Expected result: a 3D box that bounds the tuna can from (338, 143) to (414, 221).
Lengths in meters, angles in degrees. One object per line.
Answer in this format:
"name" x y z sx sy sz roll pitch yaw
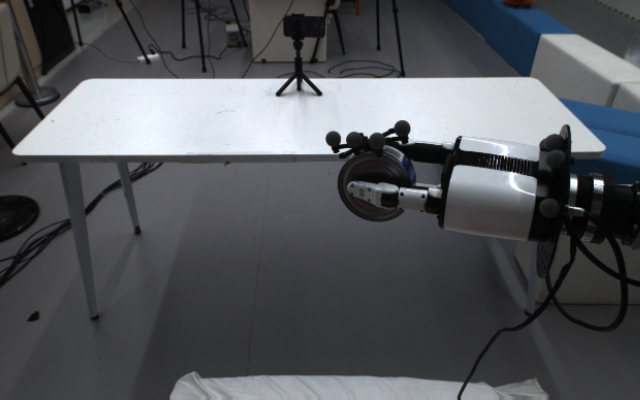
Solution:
"tuna can" 0.067 -0.021 0.556 0.085 0.085 0.034 13 29 15
